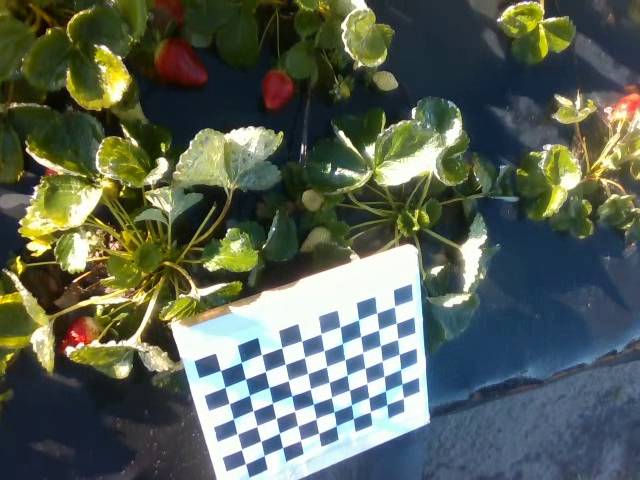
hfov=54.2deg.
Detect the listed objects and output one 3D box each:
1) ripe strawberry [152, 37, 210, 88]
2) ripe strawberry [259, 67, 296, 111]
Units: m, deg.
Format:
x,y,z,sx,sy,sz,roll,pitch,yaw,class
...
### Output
x,y,z,sx,sy,sz,roll,pitch,yaw,class
-0.131,-0.168,0.596,0.056,0.044,0.040,35,0,-31,ripe strawberry
-0.043,-0.151,0.628,0.039,0.047,0.040,22,-4,-30,ripe strawberry
